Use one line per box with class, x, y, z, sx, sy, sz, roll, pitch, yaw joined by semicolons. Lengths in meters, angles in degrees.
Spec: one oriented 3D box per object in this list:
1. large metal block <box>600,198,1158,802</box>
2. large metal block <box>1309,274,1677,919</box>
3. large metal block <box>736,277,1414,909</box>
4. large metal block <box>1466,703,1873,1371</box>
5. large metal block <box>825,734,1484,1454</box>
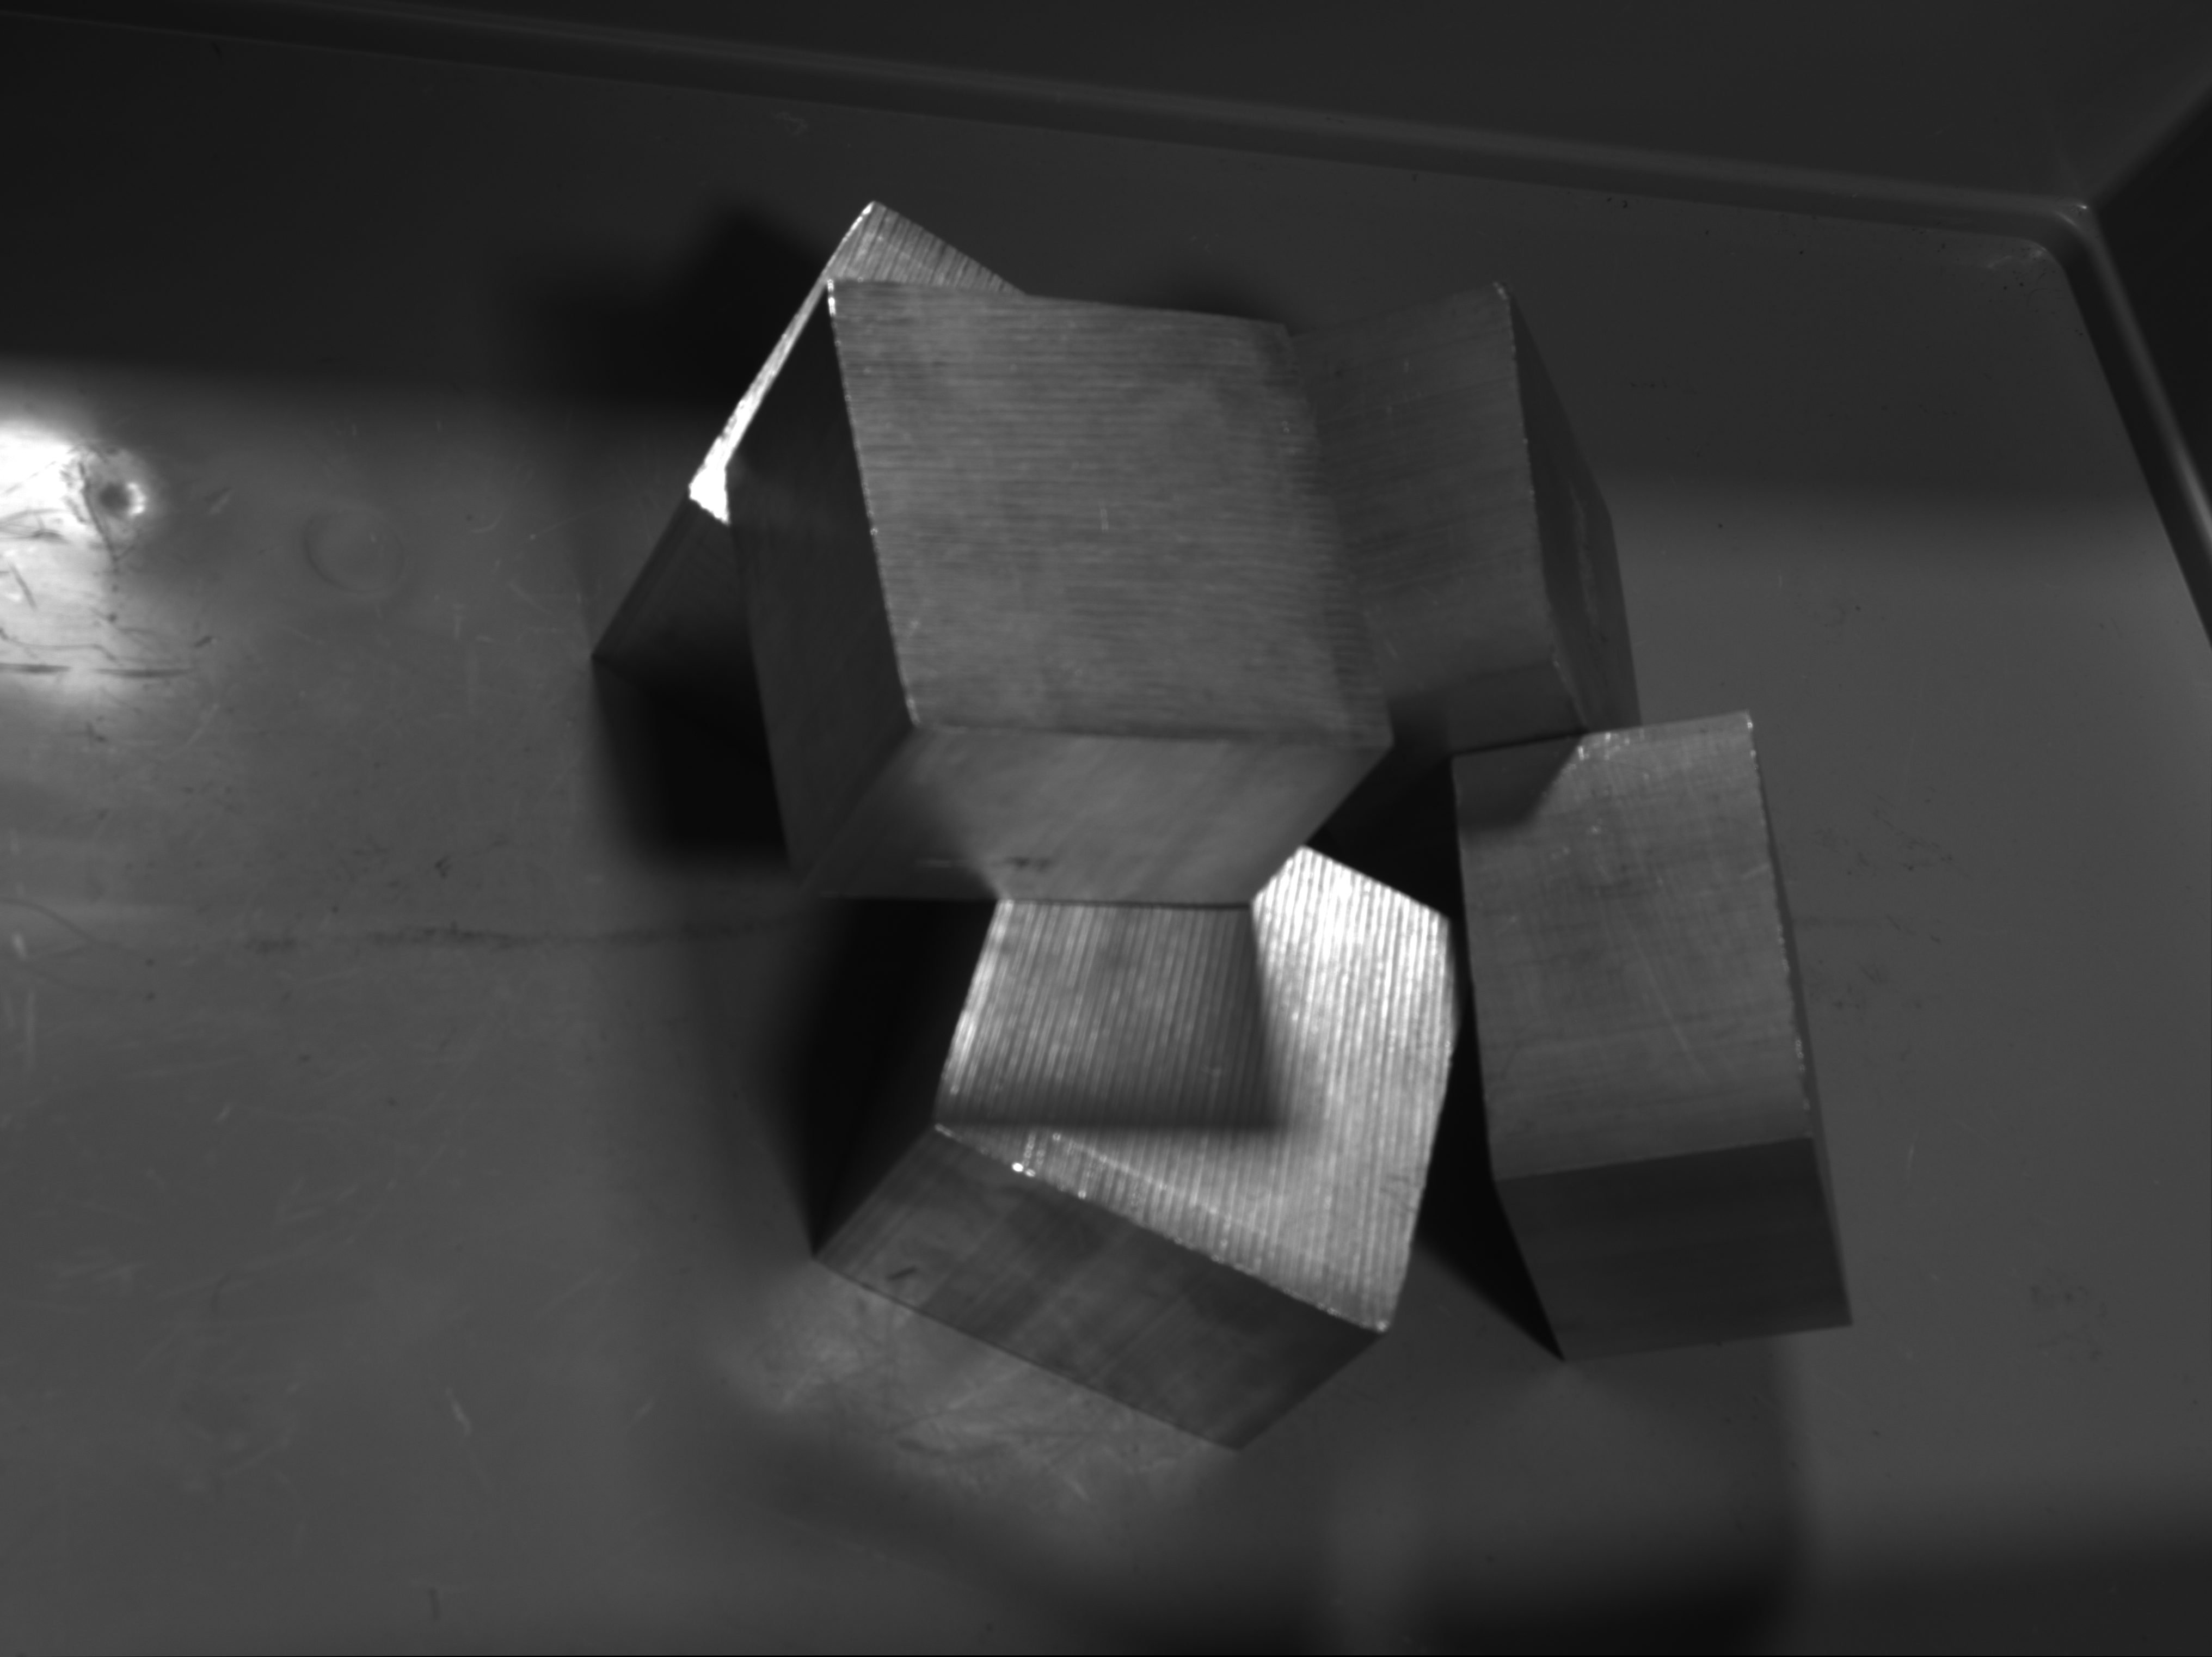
large metal block;-0.029;-0.049;0.637;0.080;0.050;0.080;32;52;-8
large metal block;0.064;-0.038;0.652;0.080;0.050;0.080;53;29;-55
large metal block;-0.007;-0.035;0.574;0.080;0.050;0.080;2;59;-26
large metal block;0.096;0.037;0.623;0.050;0.080;0.080;-9;58;12
large metal block;0.010;0.043;0.598;0.080;0.050;0.080;27;52;-12
